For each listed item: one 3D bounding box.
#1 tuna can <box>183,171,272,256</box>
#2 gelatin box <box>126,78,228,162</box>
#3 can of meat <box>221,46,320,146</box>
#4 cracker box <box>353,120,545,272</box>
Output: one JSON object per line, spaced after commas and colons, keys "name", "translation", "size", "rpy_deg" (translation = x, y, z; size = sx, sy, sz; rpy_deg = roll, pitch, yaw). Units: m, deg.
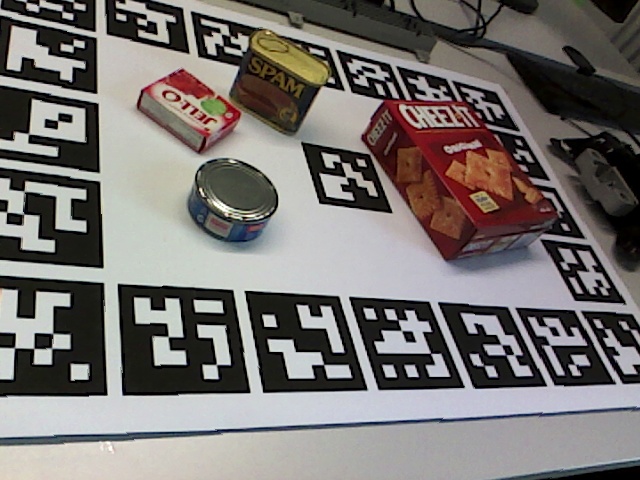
{"name": "tuna can", "translation": [-0.094, -0.027, 0.626], "size": [0.085, 0.034, 0.086], "rpy_deg": [16, 47, -19]}
{"name": "gelatin box", "translation": [-0.159, -0.138, 0.699], "size": [0.089, 0.030, 0.073], "rpy_deg": [38, 38, 1]}
{"name": "can of meat", "translation": [-0.064, -0.175, 0.766], "size": [0.102, 0.084, 0.058], "rpy_deg": [27, 41, -5]}
{"name": "cracker box", "translation": [0.171, -0.068, 0.818], "size": [0.163, 0.072, 0.215], "rpy_deg": [-8, 54, -39]}
